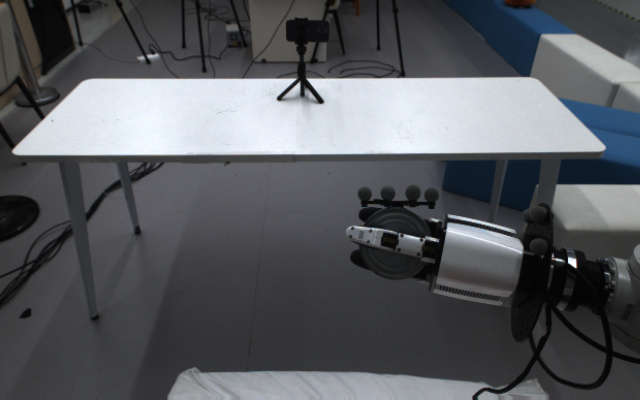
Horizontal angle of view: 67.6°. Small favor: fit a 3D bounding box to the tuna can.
[{"bbox_3d":[0.094,0.049,0.581,0.085,0.085,0.034,13,-1,15],"label":"tuna can"}]
